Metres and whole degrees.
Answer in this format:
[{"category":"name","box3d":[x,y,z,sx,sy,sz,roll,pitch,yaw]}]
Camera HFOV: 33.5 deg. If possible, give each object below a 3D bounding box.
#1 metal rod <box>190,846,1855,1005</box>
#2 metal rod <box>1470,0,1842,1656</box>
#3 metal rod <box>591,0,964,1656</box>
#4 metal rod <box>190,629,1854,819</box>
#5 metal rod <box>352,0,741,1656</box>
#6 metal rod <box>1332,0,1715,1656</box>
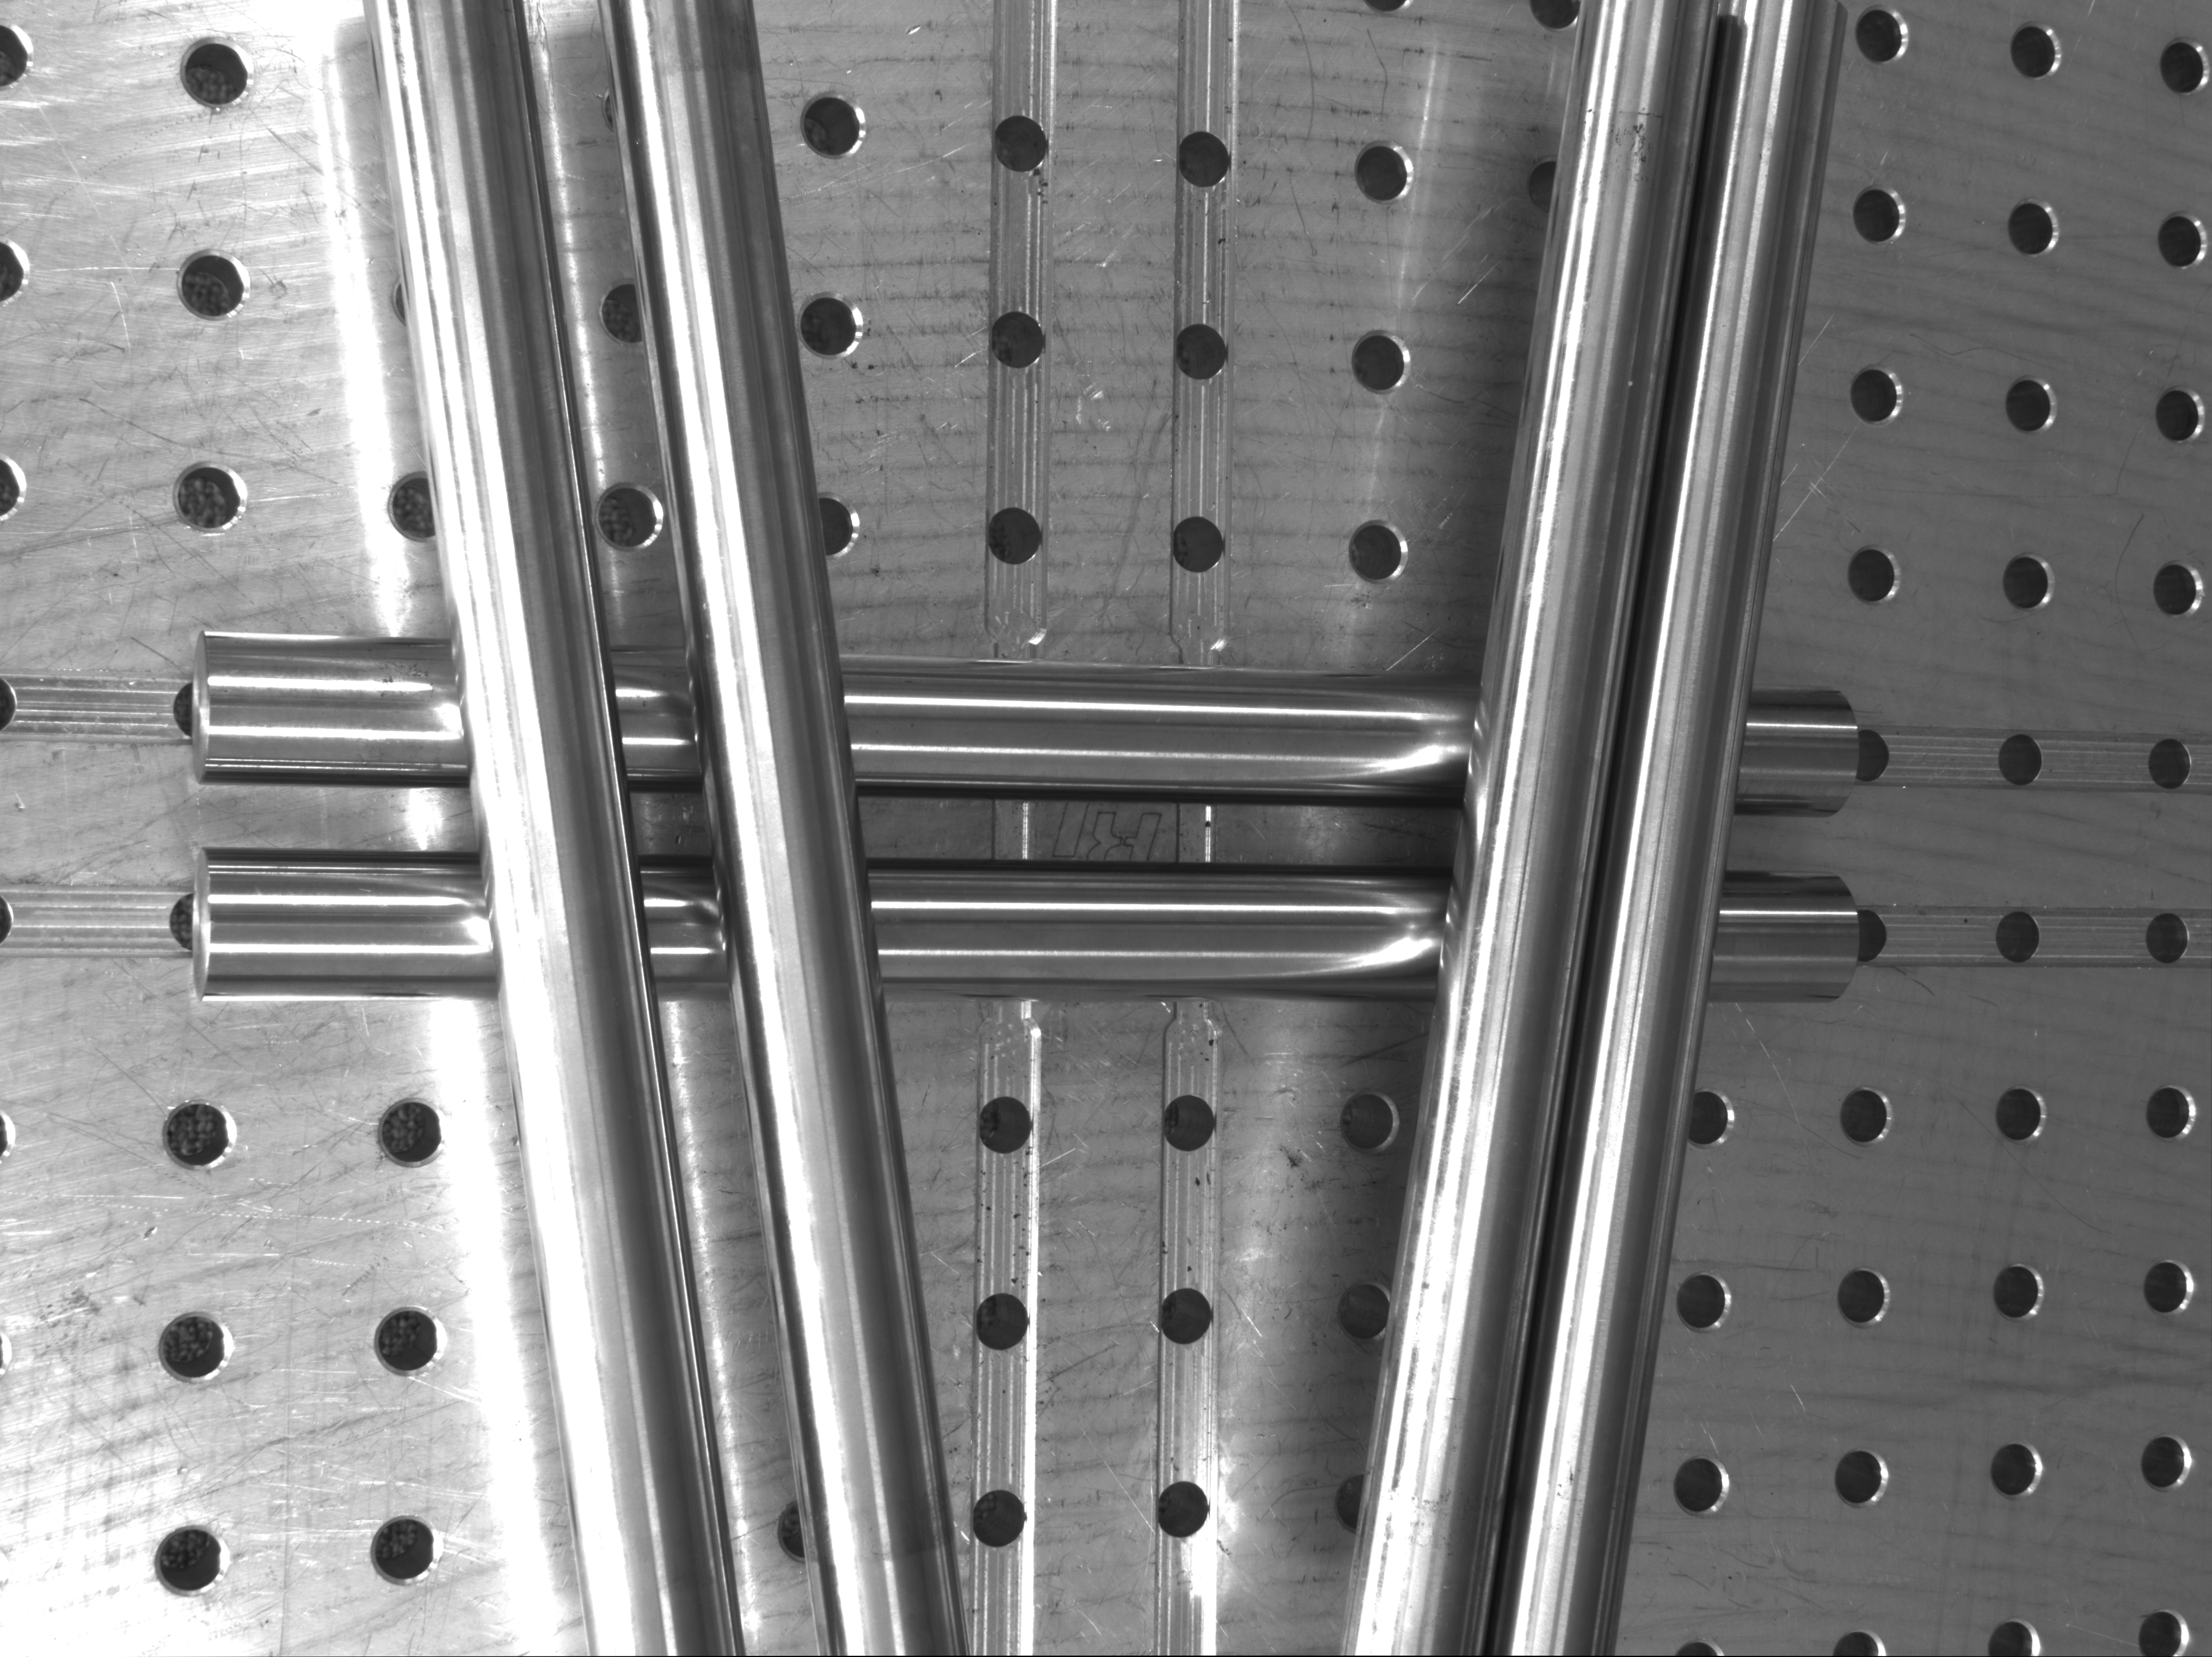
[{"category":"metal rod","box3d":[-0.006,0.018,0.644,0.301,0.025,0.025,1,90,-20]},{"category":"metal rod","box3d":[0.098,0.000,0.656,0.025,0.025,0.300,10,87,-19]},{"category":"metal rod","box3d":[-0.054,-0.006,0.600,0.025,0.025,0.300,-8,93,-20]},{"category":"metal rod","box3d":[-0.006,-0.017,0.644,0.301,0.025,0.025,1,90,-20]},{"category":"metal rod","box3d":[-0.090,-0.003,0.587,0.025,0.025,0.300,-8,93,-20]},{"category":"metal rod","box3d":[0.074,0.000,0.647,0.025,0.025,0.300,10,87,-19]}]
